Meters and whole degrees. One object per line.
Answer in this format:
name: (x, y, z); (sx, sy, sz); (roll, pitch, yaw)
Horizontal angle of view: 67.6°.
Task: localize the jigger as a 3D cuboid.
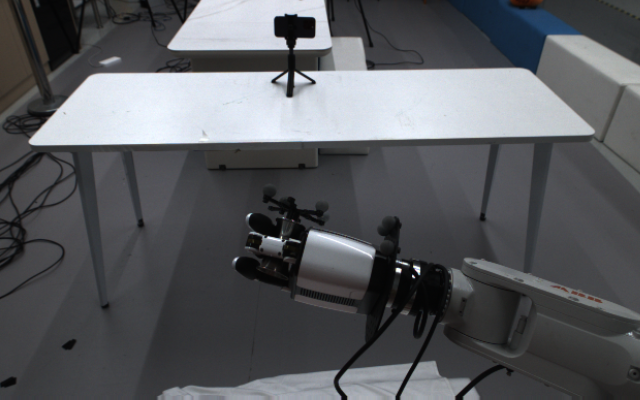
jigger: (-0.044, 0.060, 0.605); (0.043, 0.043, 0.071); (12, 70, 14)
